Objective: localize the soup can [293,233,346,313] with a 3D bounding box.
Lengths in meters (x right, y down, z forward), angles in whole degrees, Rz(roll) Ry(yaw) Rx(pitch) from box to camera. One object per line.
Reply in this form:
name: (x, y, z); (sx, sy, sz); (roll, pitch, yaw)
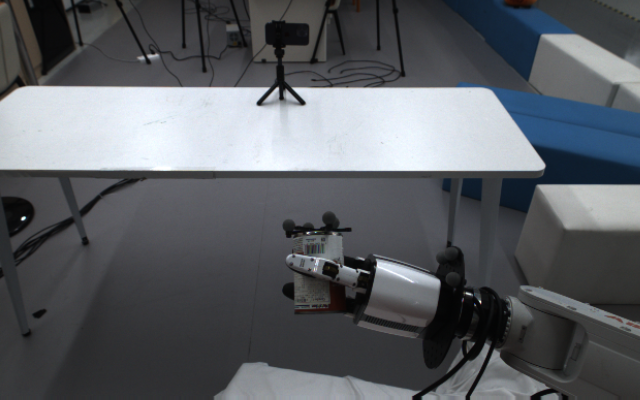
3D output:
soup can: (0.002, 0.095, 0.625); (0.067, 0.067, 0.101); (-2, 76, -6)
